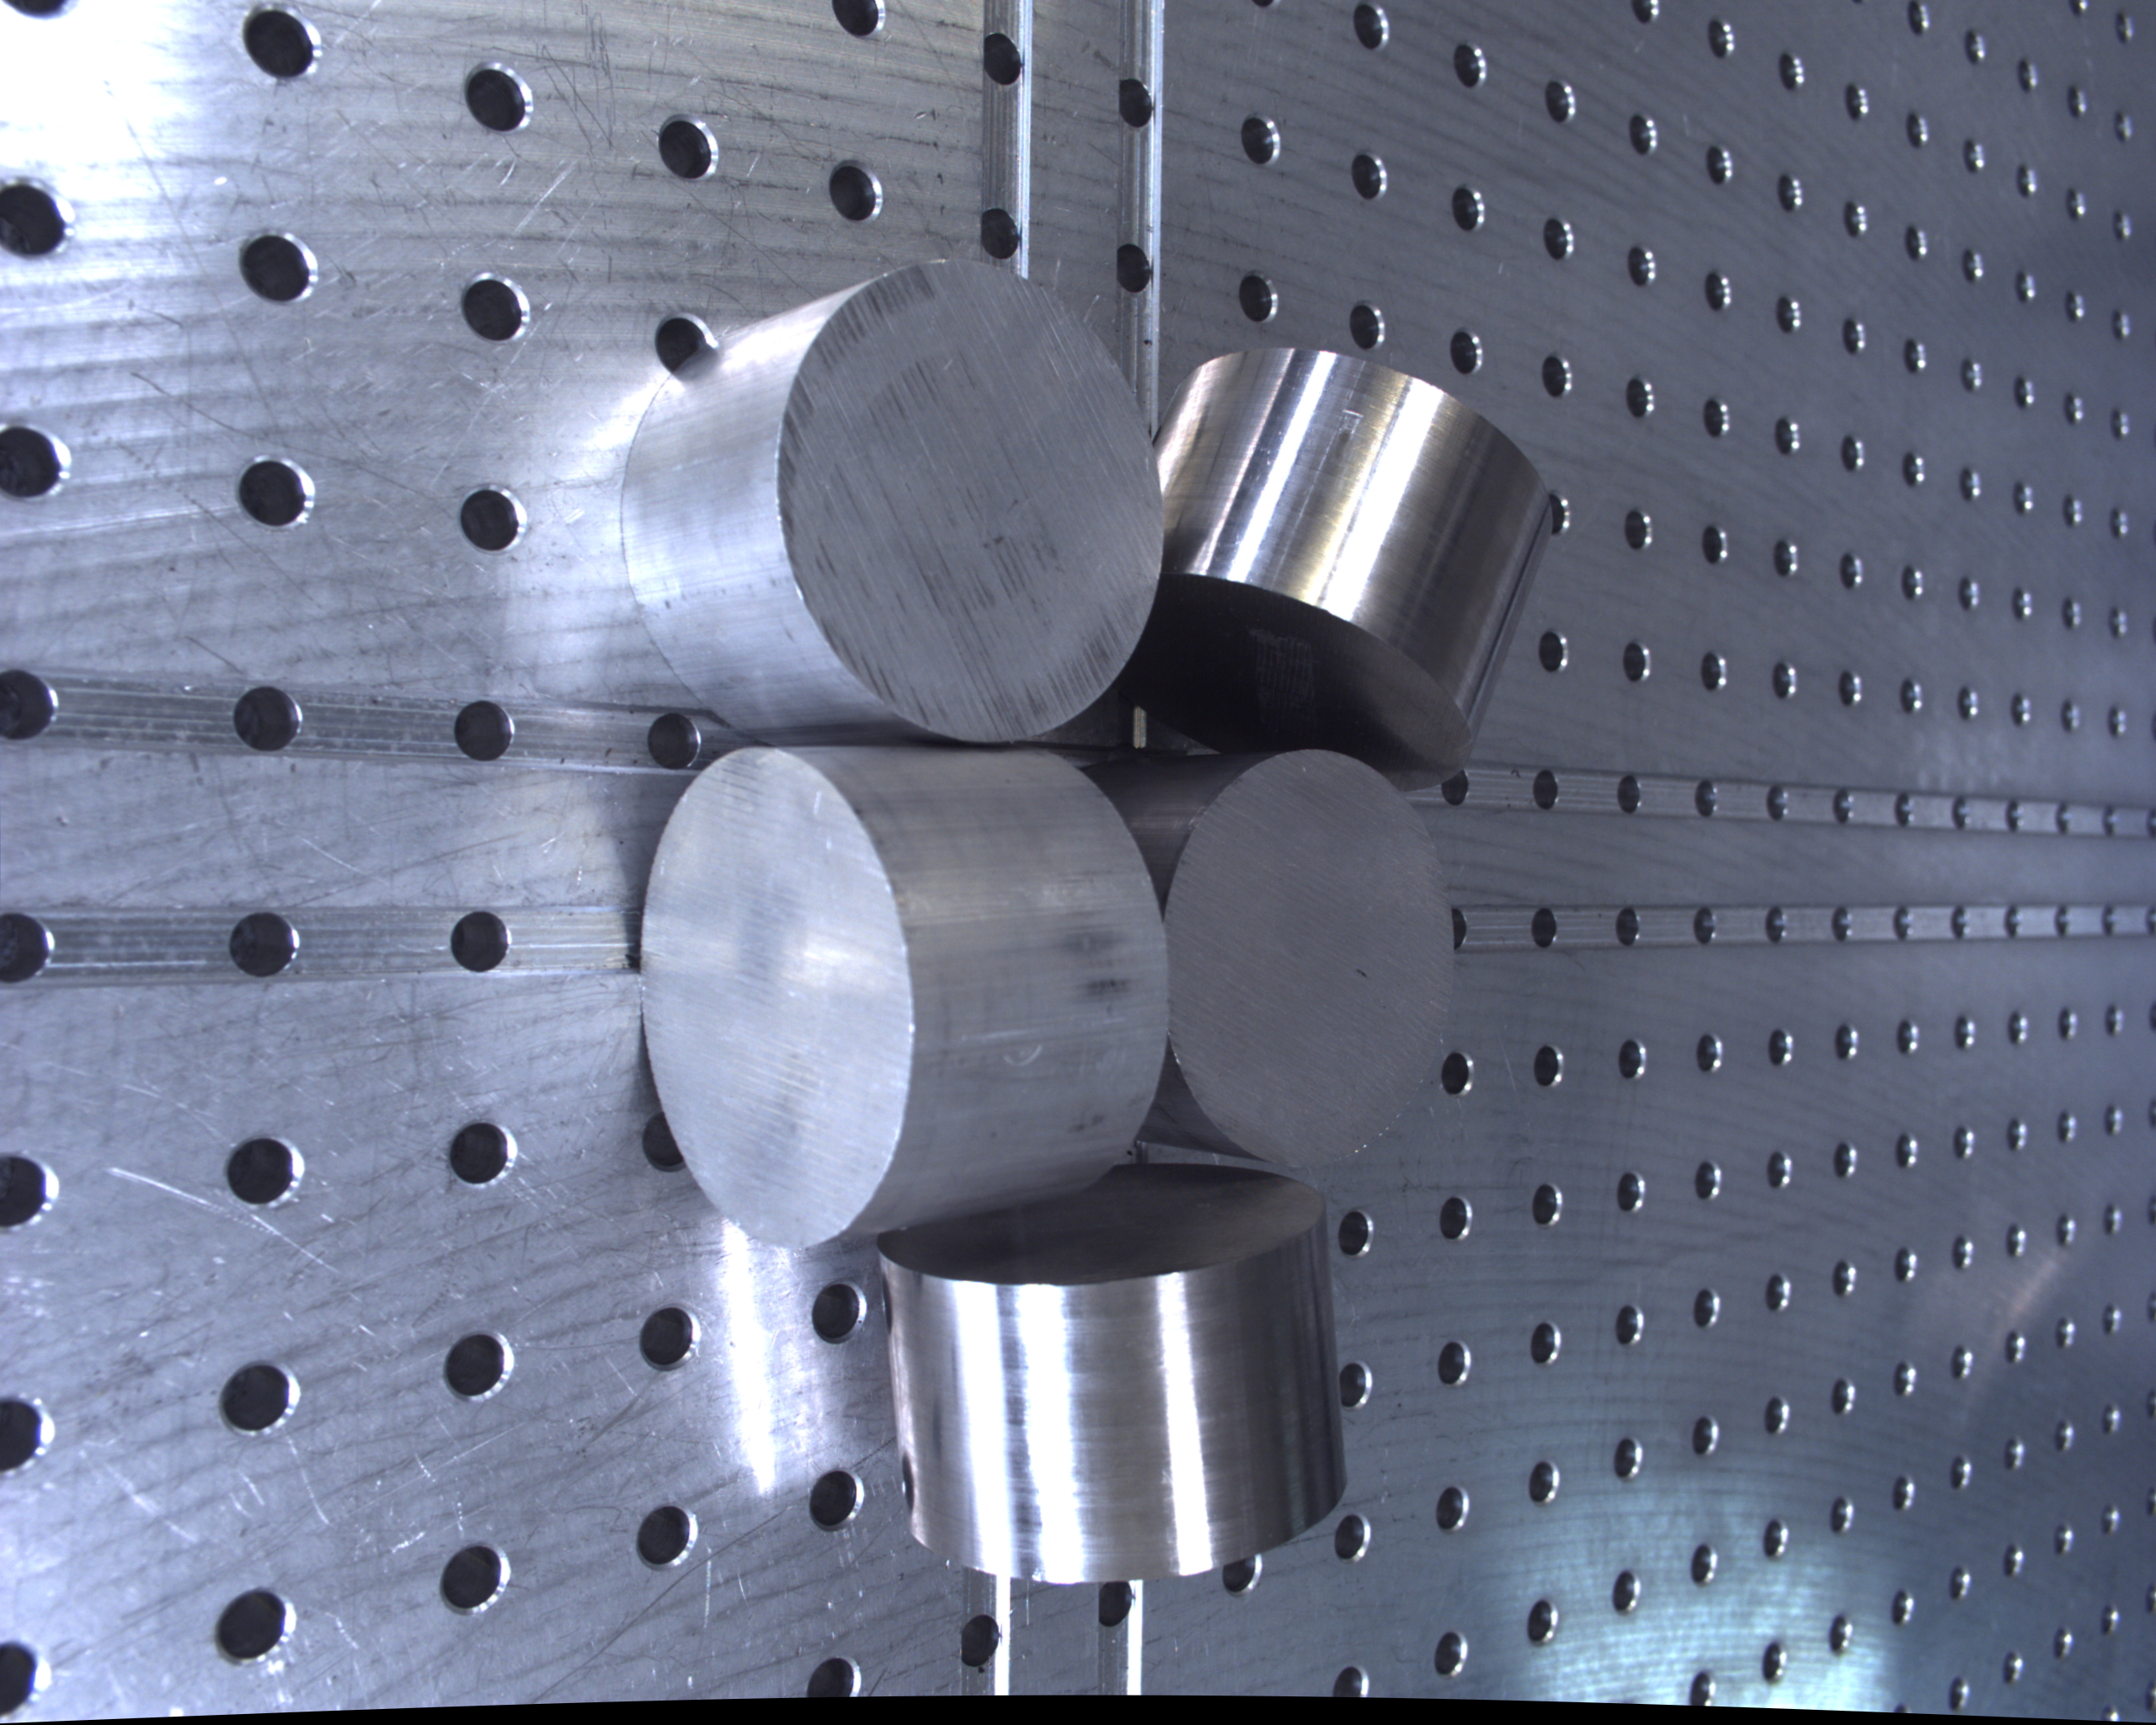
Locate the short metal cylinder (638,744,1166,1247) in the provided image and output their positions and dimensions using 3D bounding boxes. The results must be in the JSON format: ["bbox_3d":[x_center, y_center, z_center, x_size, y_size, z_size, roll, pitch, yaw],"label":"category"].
[{"bbox_3d":[-0.031,0.020,0.348,0.050,0.080,0.079,-3,92,-41],"label":"short metal cylinder"}]

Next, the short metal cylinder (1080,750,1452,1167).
[{"bbox_3d":[0.029,0.018,0.417,0.081,0.050,0.079,-1,91,-40],"label":"short metal cylinder"}]

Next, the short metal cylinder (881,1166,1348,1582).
[{"bbox_3d":[0.007,0.089,0.378,0.081,0.080,0.050,-8,96,-40],"label":"short metal cylinder"}]

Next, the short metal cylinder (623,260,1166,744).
[{"bbox_3d":[-0.031,-0.060,0.366,0.081,0.050,0.079,0,91,-39],"label":"short metal cylinder"}]

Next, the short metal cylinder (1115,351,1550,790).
[{"bbox_3d":[0.046,-0.055,0.412,0.080,0.080,0.050,35,68,-35],"label":"short metal cylinder"}]
